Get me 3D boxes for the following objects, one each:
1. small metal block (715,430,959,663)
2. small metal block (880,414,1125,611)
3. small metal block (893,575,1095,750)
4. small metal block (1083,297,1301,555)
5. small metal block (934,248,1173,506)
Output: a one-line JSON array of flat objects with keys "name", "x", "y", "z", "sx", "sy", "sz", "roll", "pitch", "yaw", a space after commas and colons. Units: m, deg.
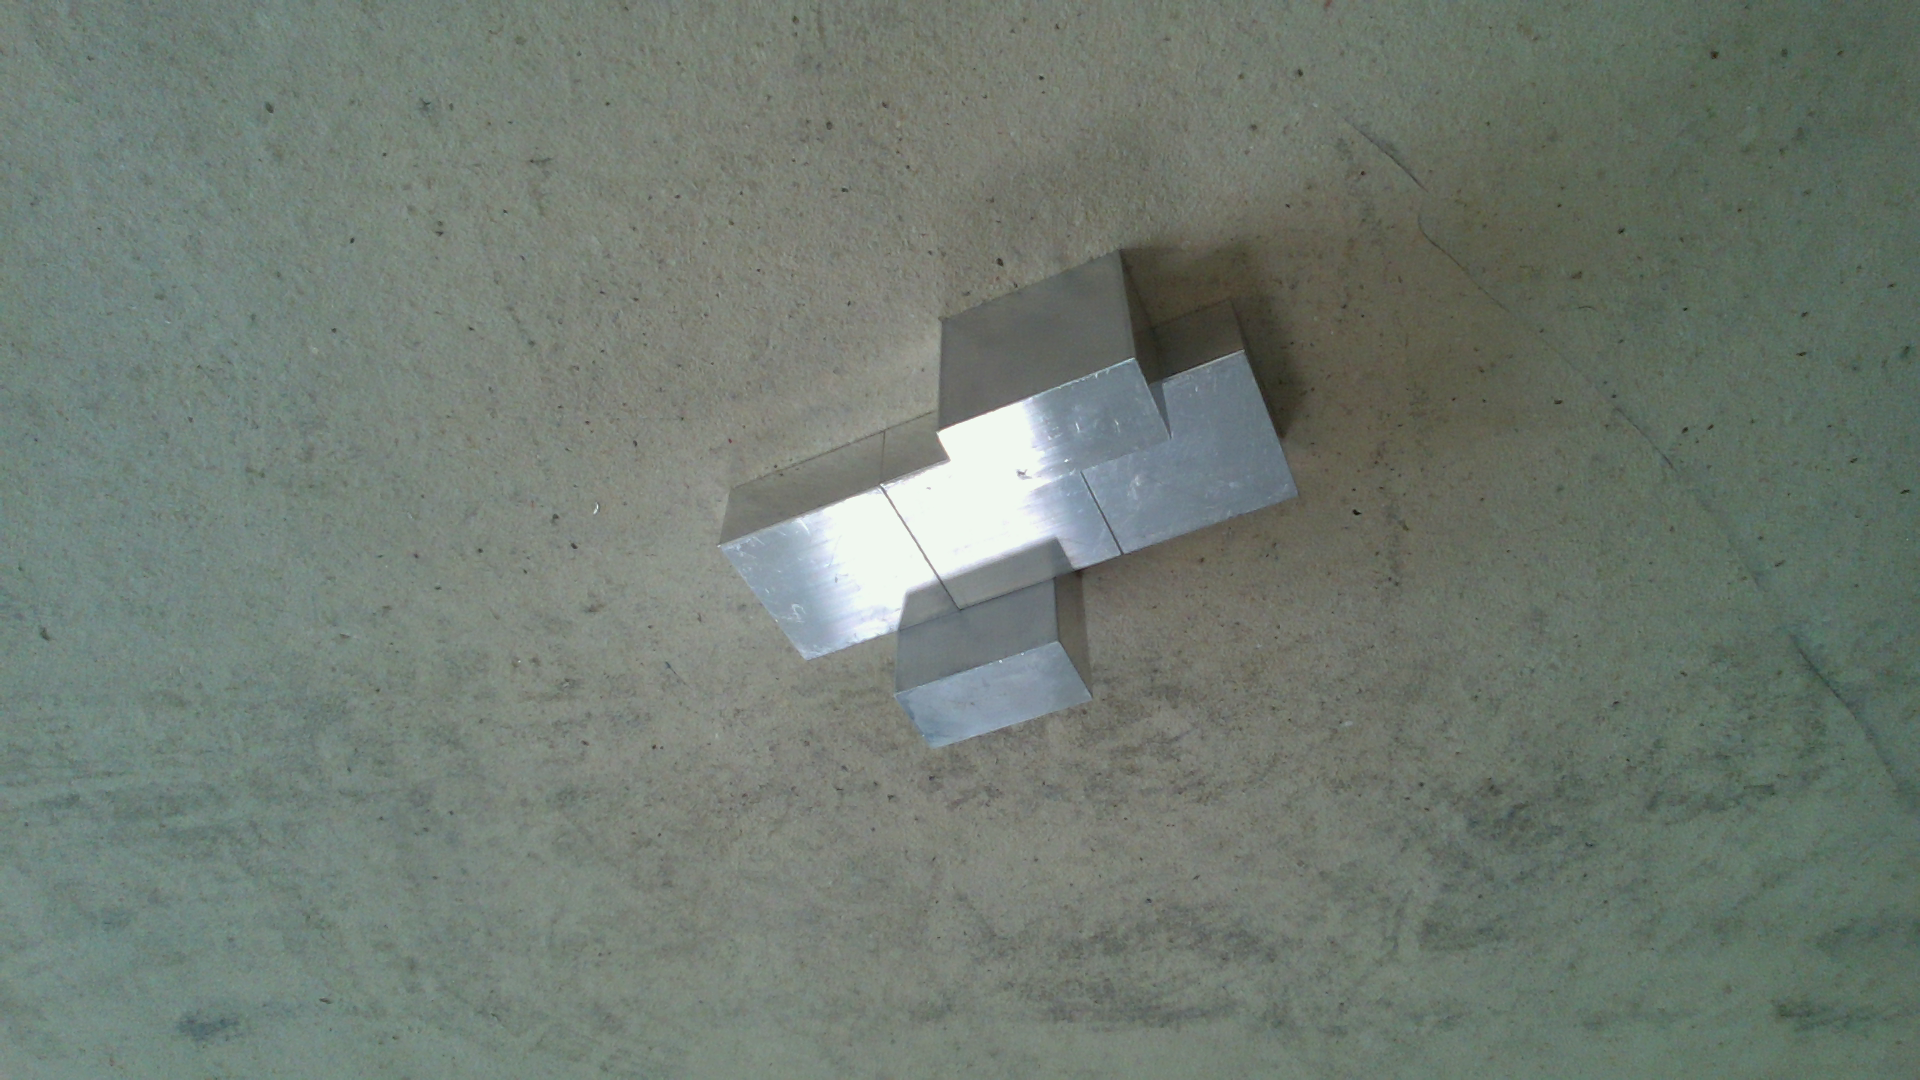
[{"name": "small metal block", "x": -0.034, "y": 0.003, "z": 0.393, "sx": 0.050, "sy": 0.025, "sz": 0.050, "roll": -19, "pitch": 128, "yaw": 15}, {"name": "small metal block", "x": 0.012, "y": -0.013, "z": 0.380, "sx": 0.050, "sy": 0.025, "sz": 0.050, "roll": -19, "pitch": 128, "yaw": 15}, {"name": "small metal block", "x": 0.010, "y": 0.027, "z": 0.398, "sx": 0.050, "sy": 0.050, "sz": 0.025, "roll": -19, "pitch": 127, "yaw": 16}, {"name": "small metal block", "x": 0.057, "y": -0.029, "z": 0.366, "sx": 0.050, "sy": 0.025, "sz": 0.050, "roll": -19, "pitch": 128, "yaw": 15}, {"name": "small metal block", "x": 0.022, "y": -0.041, "z": 0.341, "sx": 0.050, "sy": 0.050, "sz": 0.025, "roll": -19, "pitch": 128, "yaw": 16}]
